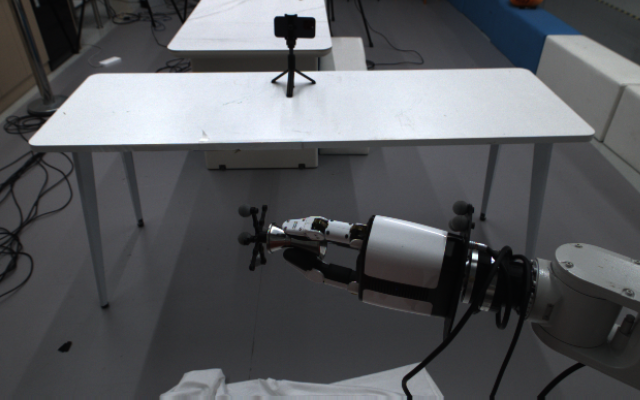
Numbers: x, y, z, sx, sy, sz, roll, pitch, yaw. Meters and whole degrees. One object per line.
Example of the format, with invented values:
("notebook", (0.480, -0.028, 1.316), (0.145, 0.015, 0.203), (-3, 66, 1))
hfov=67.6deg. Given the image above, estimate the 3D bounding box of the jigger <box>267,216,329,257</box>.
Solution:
("jigger", (-0.020, 0.046, 0.604), (0.071, 0.043, 0.043), (2, 34, 12))
